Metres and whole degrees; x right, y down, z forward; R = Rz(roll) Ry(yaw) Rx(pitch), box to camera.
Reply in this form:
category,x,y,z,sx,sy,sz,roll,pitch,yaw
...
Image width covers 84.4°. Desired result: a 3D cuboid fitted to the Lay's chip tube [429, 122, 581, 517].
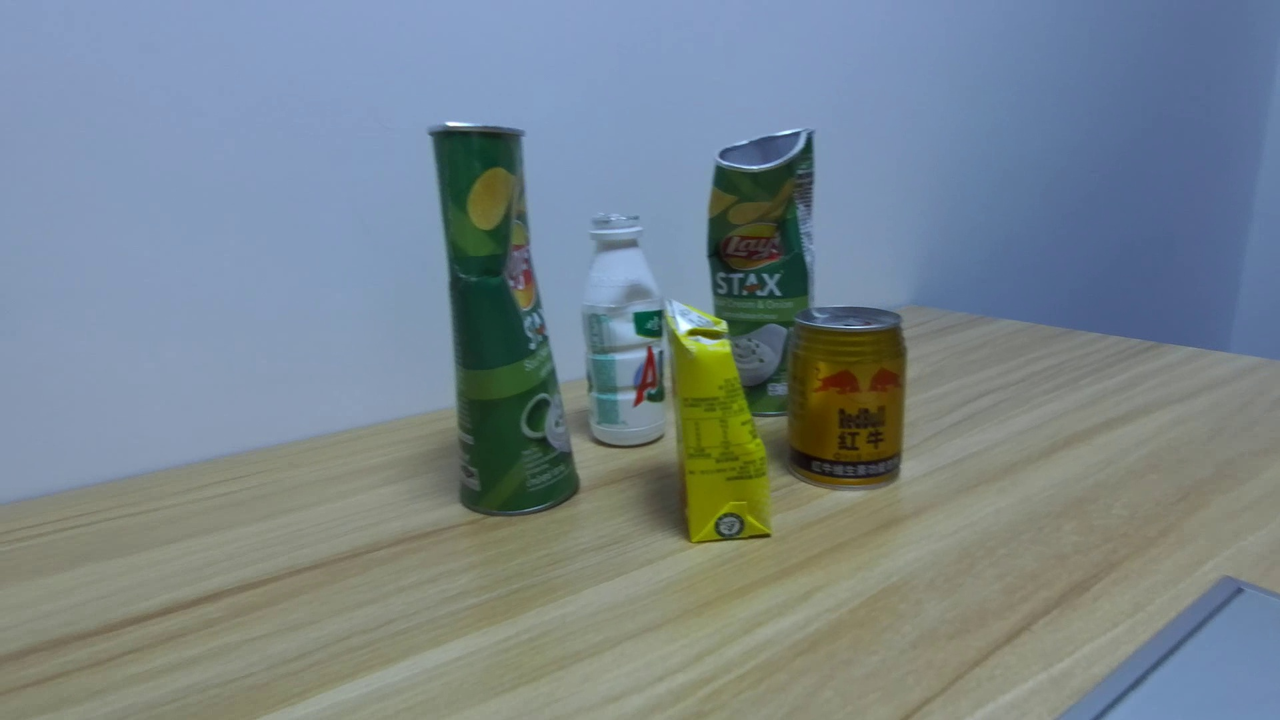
category,x,y,z,sx,sy,sz,roll,pitch,yaw
Lay's chip tube,-0.075,-0.021,0.386,0.069,0.199,0.074,-13,17,-33

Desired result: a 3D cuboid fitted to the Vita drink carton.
category,x,y,z,sx,sy,sz,roll,pitch,yaw
Vita drink carton,0.040,0.028,0.357,0.046,0.109,0.071,-5,16,0

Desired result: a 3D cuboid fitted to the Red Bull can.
category,x,y,z,sx,sy,sz,roll,pitch,yaw
Red Bull can,0.119,0.020,0.408,0.067,0.093,0.067,-2,14,1

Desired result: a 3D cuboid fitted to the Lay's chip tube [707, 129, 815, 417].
category,x,y,z,sx,sy,sz,roll,pitch,yaw
Lay's chip tube,0.089,-0.057,0.499,0.079,0.199,0.071,-4,22,2

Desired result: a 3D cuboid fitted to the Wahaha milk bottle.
category,x,y,z,sx,sy,sz,roll,pitch,yaw
Wahaha milk bottle,-0.010,-0.019,0.462,0.055,0.149,0.055,-1,15,1
